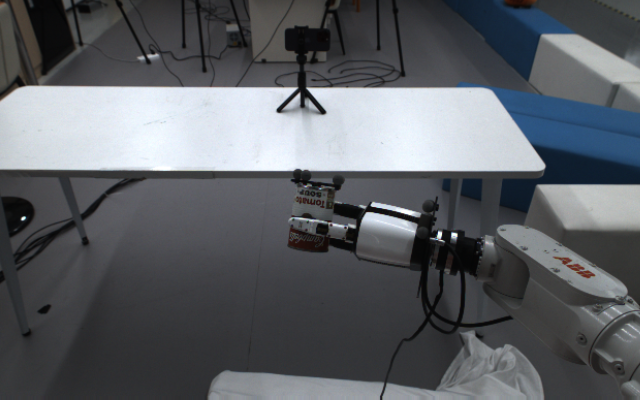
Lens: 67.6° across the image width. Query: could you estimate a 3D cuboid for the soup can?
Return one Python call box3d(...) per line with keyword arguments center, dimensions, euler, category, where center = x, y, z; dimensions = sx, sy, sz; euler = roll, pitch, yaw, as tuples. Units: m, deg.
box3d(center=(-0.012, 0.028, 0.777), dimensions=(0.067, 0.101, 0.067), euler=(7, 4, 0), category="soup can")
